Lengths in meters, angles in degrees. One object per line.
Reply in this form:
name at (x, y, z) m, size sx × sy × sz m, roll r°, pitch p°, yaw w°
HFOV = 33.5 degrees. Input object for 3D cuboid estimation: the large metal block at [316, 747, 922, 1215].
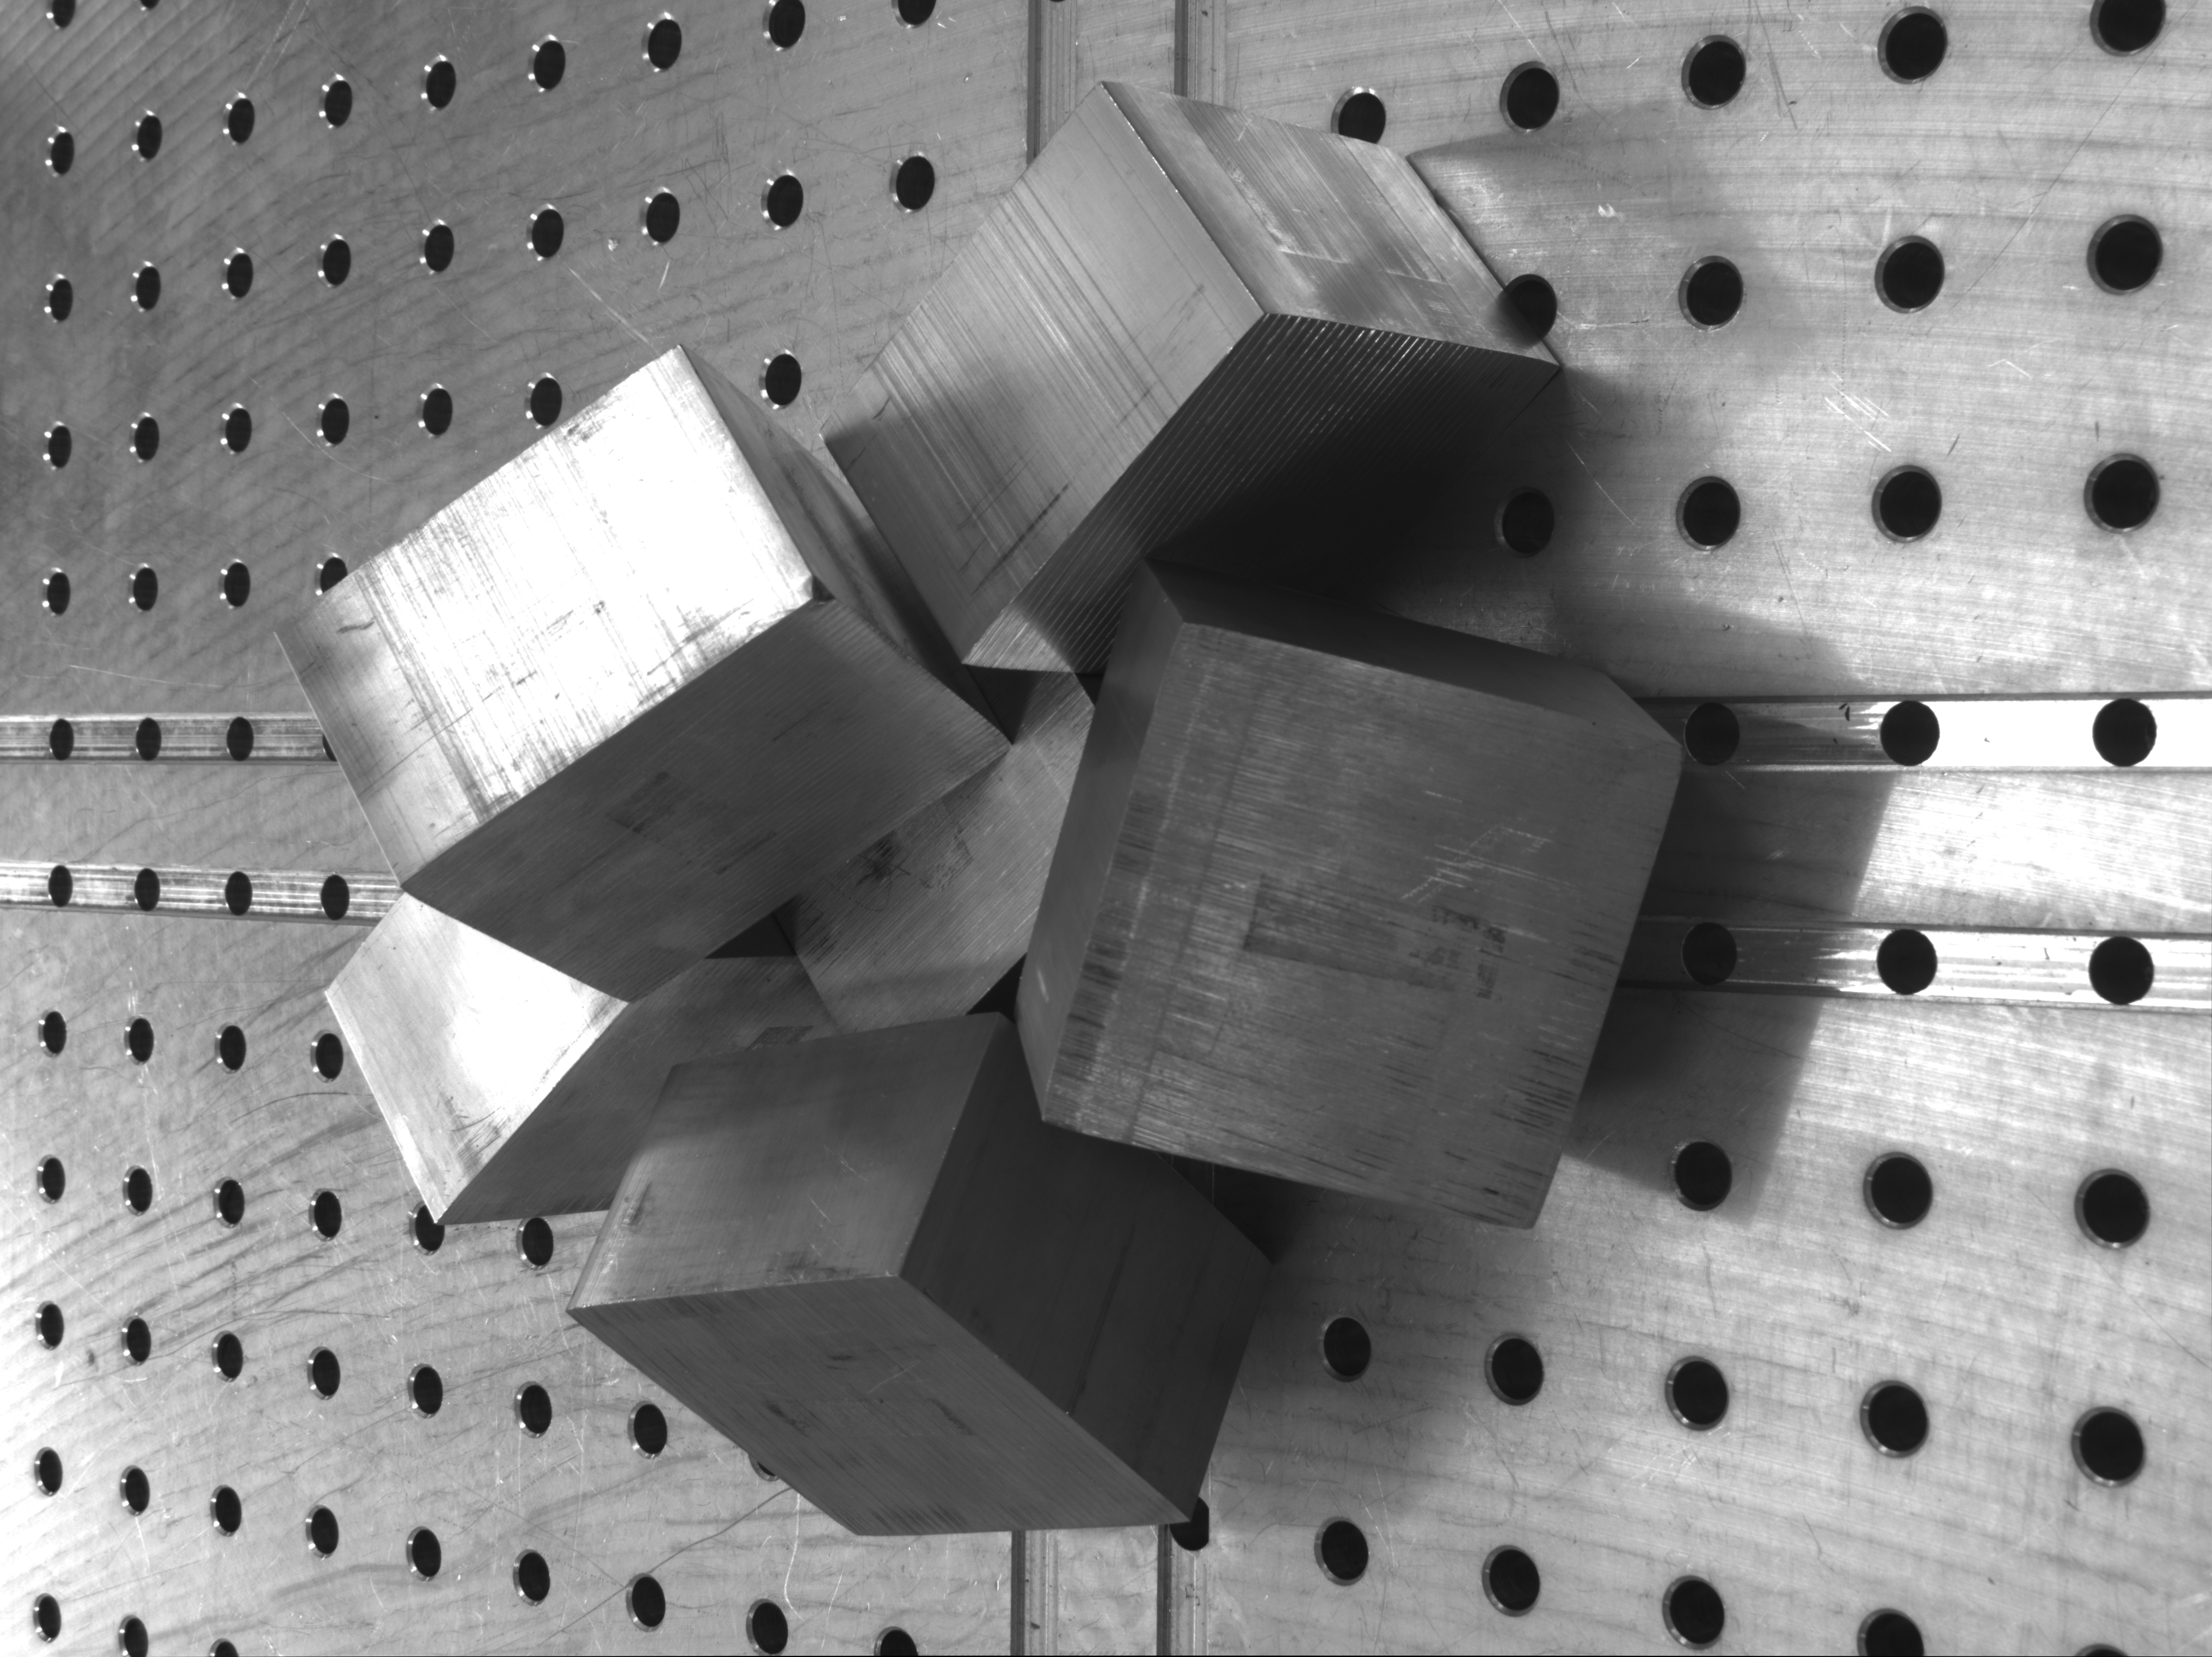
large metal block at (-0.085, 0.025, 0.683) m, size 0.080 × 0.080 × 0.050 m, roll -46°, pitch 63°, yaw 30°

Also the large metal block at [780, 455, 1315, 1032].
large metal block at (-0.017, -0.008, 0.649) m, size 0.080 × 0.050 × 0.080 m, roll -47°, pitch 62°, yaw 30°

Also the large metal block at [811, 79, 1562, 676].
large metal block at (0.013, -0.070, 0.602) m, size 0.080 × 0.080 × 0.050 m, roll -47°, pitch 62°, yaw 30°

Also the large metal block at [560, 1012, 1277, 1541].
large metal block at (-0.031, 0.079, 0.630) m, size 0.080 × 0.080 × 0.050 m, roll -12°, pitch 46°, yaw 40°

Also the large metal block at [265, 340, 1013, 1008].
large metal block at (-0.073, -0.022, 0.592) m, size 0.080 × 0.080 × 0.050 m, roll -34°, pitch 66°, yaw 8°

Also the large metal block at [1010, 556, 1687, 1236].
large metal block at (0.035, 0.010, 0.574) m, size 0.050 × 0.080 × 0.080 m, roll -114°, pitch 38°, yaw -73°
